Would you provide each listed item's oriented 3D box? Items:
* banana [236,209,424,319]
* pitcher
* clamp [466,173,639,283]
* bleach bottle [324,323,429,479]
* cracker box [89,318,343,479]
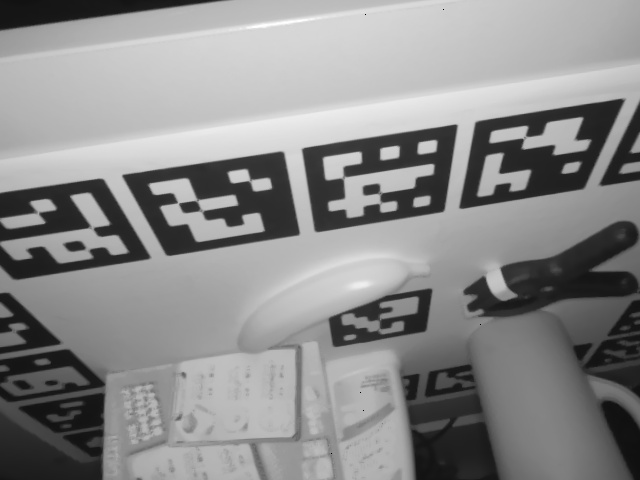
[{"bbox_3d":[-0.010,0.020,0.592,0.194,0.039,0.075,-31,141,27],"label":"banana"},{"bbox_3d":[0.252,0.174,0.652,0.187,0.244,0.134,-18,145,17],"label":"pitcher"},{"bbox_3d":[0.211,0.002,0.613,0.164,0.037,0.122,-18,147,14],"label":"clamp"},{"bbox_3d":[0.069,0.212,0.691,0.103,0.252,0.067,-10,146,-1],"label":"bleach bottle"},{"bbox_3d":[-0.095,0.175,0.641,0.214,0.165,0.071,-10,148,-4],"label":"cracker box"}]
